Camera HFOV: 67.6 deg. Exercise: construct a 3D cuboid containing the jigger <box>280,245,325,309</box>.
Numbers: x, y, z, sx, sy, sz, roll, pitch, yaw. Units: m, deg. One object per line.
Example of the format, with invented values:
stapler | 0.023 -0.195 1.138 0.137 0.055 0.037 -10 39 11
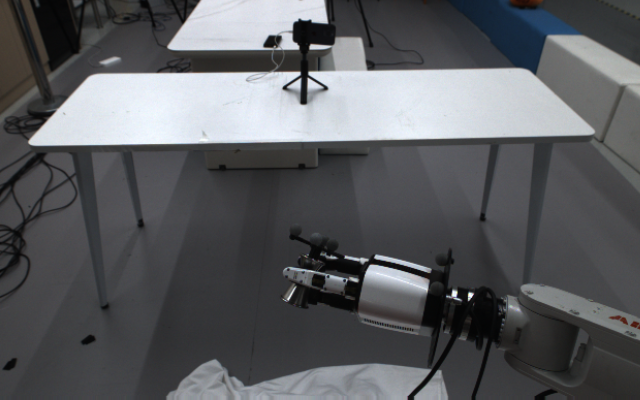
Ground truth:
jigger | -0.024 0.111 0.675 0.043 0.071 0.043 24 -3 1
